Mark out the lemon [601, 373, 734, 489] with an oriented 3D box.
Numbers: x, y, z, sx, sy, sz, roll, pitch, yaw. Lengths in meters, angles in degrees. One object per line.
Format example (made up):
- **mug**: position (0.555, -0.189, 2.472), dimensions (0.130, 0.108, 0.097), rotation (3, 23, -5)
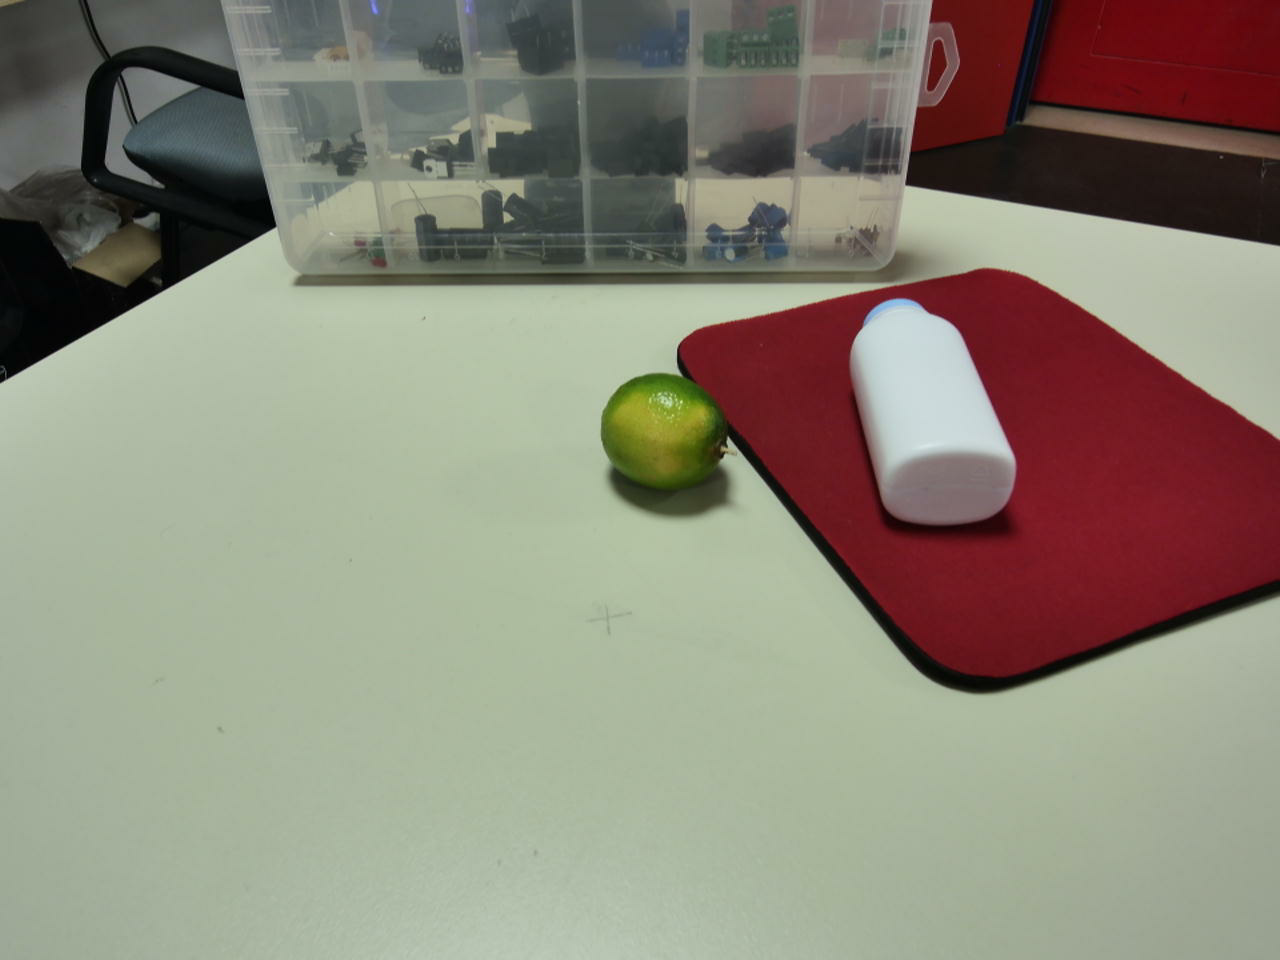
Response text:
- **lemon**: position (0.010, -0.022, 0.441), dimensions (0.054, 0.050, 0.055), rotation (-8, 38, -10)
